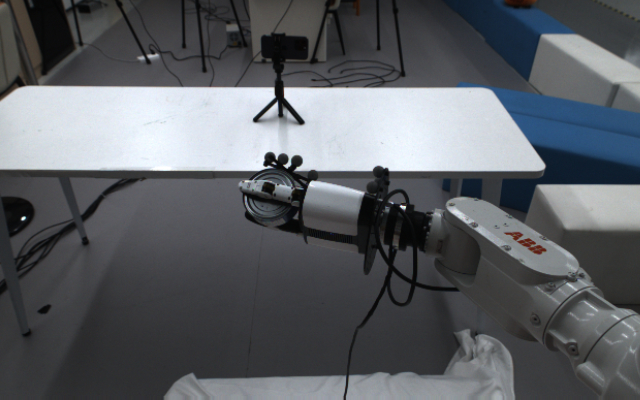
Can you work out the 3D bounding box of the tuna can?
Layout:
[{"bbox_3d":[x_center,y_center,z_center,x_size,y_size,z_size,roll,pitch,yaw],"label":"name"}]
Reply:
[{"bbox_3d":[-0.072,-0.005,0.741,0.085,0.034,0.085,-4,67,10],"label":"tuna can"}]
